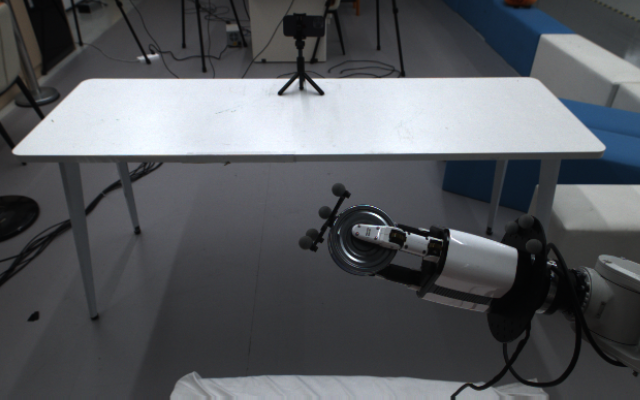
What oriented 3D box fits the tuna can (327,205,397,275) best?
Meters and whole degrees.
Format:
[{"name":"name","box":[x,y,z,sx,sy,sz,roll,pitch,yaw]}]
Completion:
[{"name":"tuna can","box":[0.056,0.048,0.598,0.085,0.034,0.085,1,75,-5]}]
